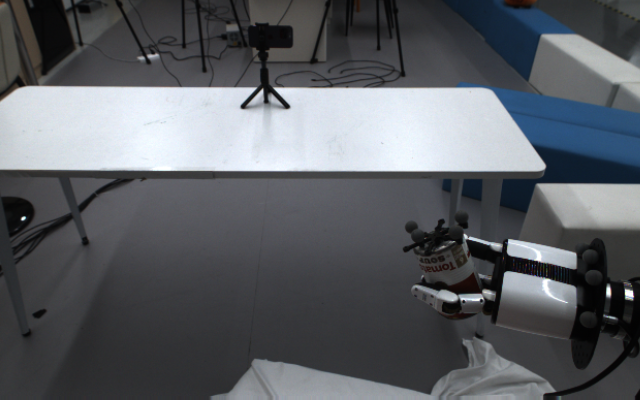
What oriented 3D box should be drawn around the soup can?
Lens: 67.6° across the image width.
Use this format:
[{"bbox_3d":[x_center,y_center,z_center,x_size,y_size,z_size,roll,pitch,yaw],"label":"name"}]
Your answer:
[{"bbox_3d":[0.173,0.094,0.633,0.067,0.101,0.067,-23,16,7],"label":"soup can"}]
